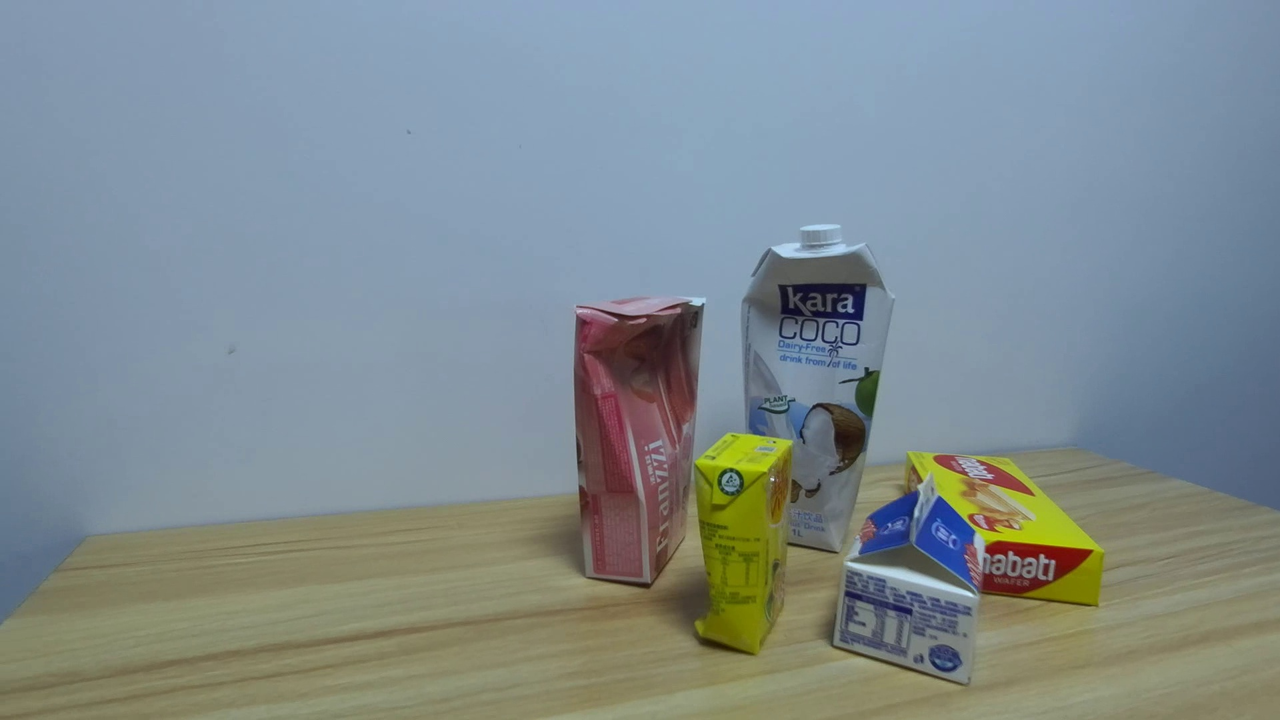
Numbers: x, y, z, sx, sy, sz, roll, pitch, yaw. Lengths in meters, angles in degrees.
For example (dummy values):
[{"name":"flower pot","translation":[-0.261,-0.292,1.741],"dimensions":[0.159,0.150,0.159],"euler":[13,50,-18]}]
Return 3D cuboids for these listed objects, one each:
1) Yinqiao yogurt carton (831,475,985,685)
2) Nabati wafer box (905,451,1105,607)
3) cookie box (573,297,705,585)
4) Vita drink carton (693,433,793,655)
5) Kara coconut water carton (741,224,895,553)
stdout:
[{"name":"Yinqiao yogurt carton","translation":[0.157,0.117,0.404],"dimensions":[0.073,0.092,0.076],"euler":[7,11,27]},{"name":"Nabati wafer box","translation":[0.273,0.122,0.555],"dimensions":[0.092,0.042,0.203],"euler":[4,10,12]},{"name":"cookie box","translation":[0.002,0.052,0.485],"dimensions":[0.055,0.184,0.119],"euler":[7,12,24]},{"name":"Vita drink carton","translation":[0.058,0.104,0.407],"dimensions":[0.043,0.109,0.076],"euler":[5,10,23]},{"name":"Kara coconut water carton","translation":[0.127,0.019,0.533],"dimensions":[0.115,0.238,0.069],"euler":[5,13,21]}]
